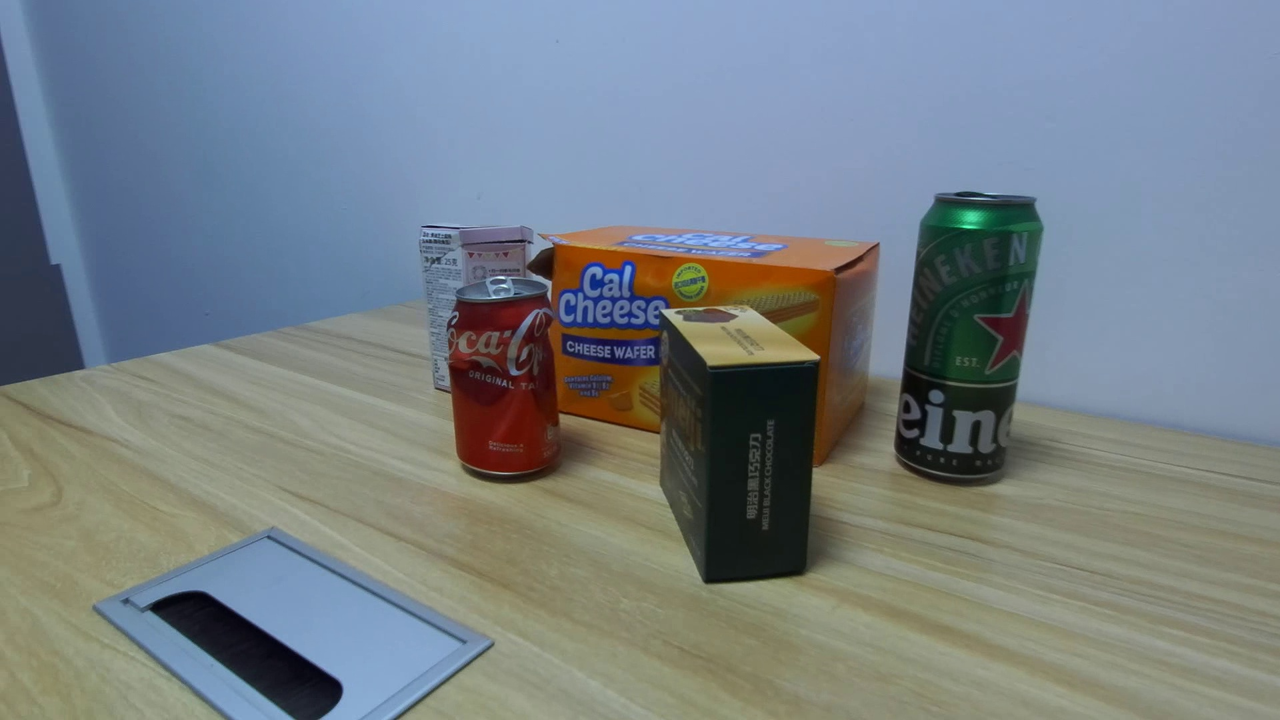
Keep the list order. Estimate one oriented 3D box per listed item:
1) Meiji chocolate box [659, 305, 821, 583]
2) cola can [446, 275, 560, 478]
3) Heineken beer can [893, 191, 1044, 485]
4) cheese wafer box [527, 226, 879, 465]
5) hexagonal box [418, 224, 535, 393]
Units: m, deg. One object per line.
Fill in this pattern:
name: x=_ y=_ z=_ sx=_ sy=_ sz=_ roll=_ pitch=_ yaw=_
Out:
Meiji chocolate box: x=0.045 y=0.037 z=0.363 sx=0.056 sy=0.109 sz=0.109 roll=-3 pitch=17 yaw=-9
cola can: x=-0.082 y=0.010 z=0.437 sx=0.066 sy=0.117 sz=0.066 roll=6 pitch=19 yaw=19
Heineken beer can: x=0.197 y=-0.013 z=0.428 sx=0.067 sy=0.169 sz=0.067 roll=1 pitch=15 yaw=0
cheese wafer box: x=0.051 y=-0.028 z=0.533 sx=0.226 sy=0.137 sz=0.150 roll=9 pitch=19 yaw=27
hexagonal box: x=-0.128 y=-0.044 z=0.581 sx=0.092 sy=0.135 sz=0.084 roll=-6 pitch=17 yaw=-20
